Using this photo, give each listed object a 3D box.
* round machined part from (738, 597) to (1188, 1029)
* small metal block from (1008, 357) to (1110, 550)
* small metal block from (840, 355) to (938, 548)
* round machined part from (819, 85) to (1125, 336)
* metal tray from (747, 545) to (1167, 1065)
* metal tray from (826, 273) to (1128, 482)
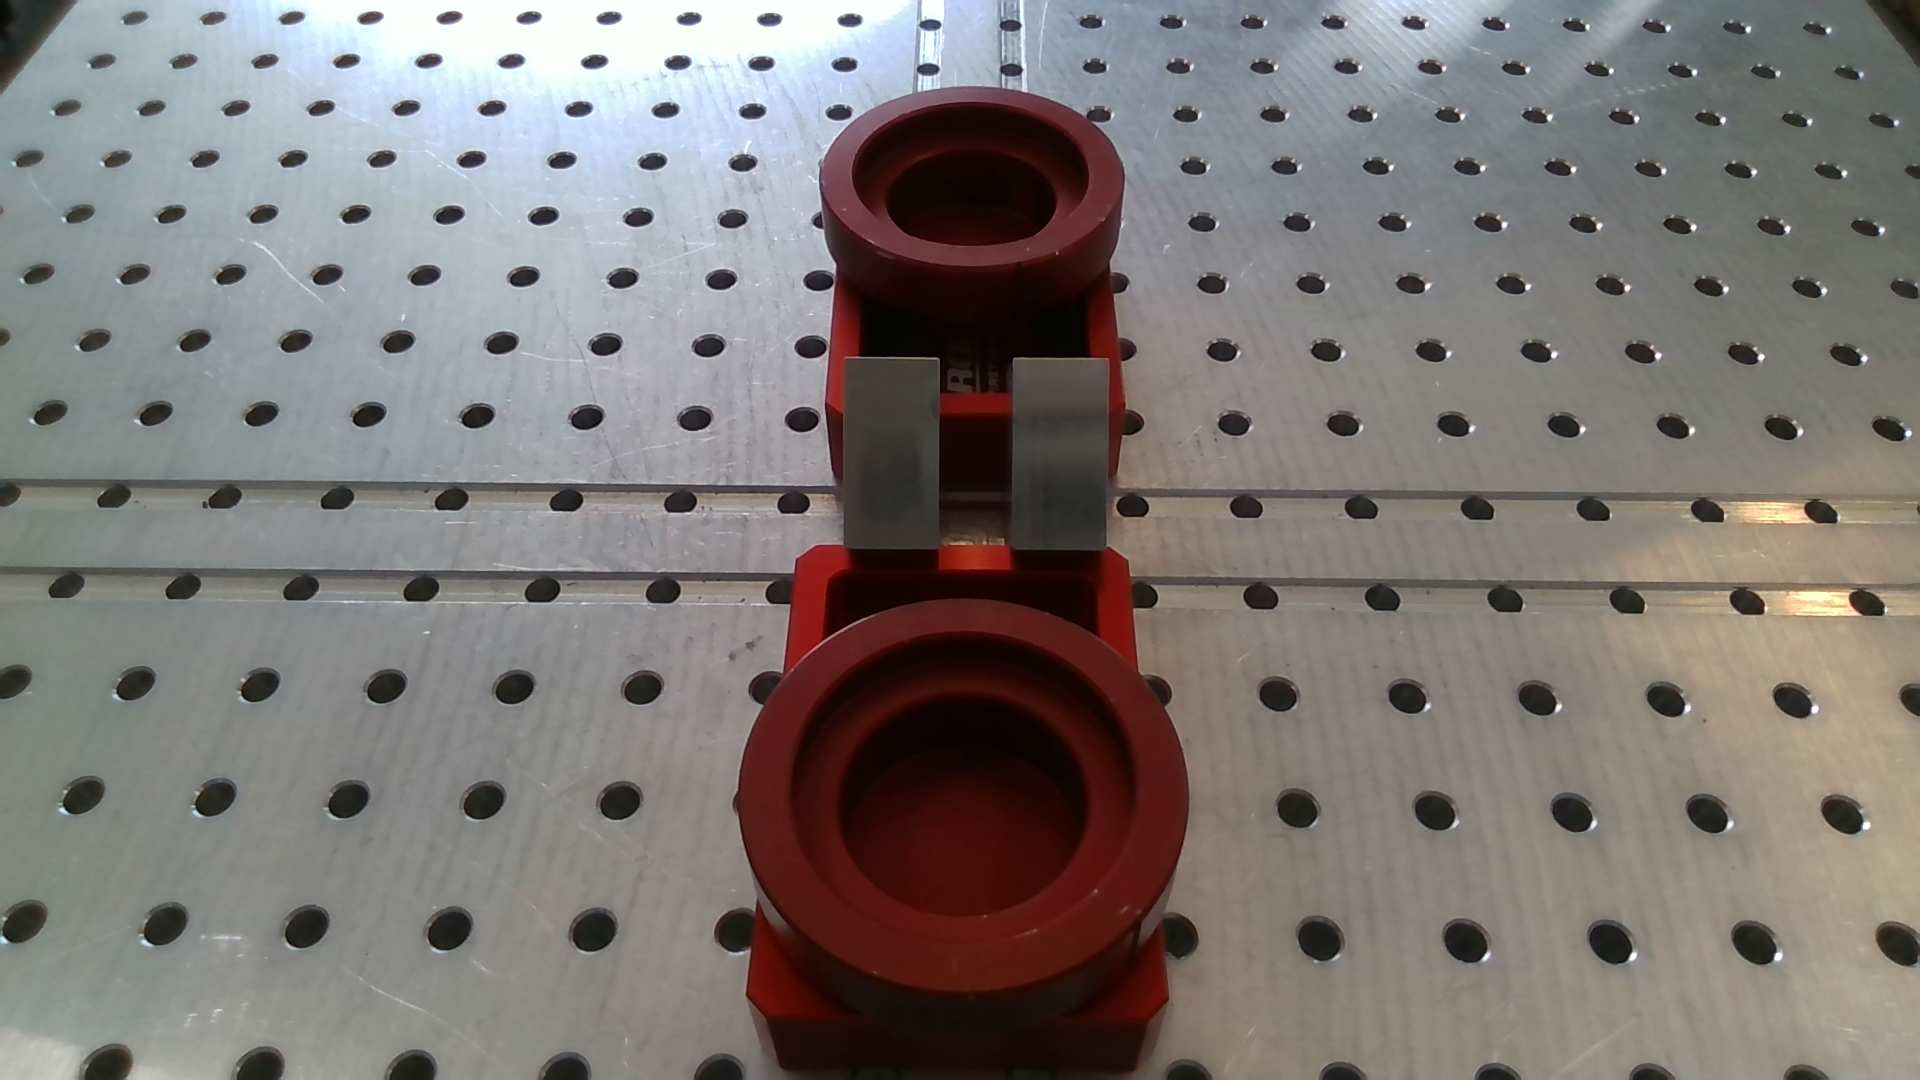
[{"bbox_3d":[0.001,0.064,0.316,0.098,0.042,0.098,0,50,0],"label":"round machined part"},{"bbox_3d":[0.026,-0.025,0.383,0.025,0.050,0.050,0,6,0],"label":"small metal block"},{"bbox_3d":[-0.018,-0.025,0.382,0.025,0.050,0.050,0,6,0],"label":"small metal block"},{"bbox_3d":[0.004,-0.106,0.458,0.098,0.042,0.098,0,50,0],"label":"round machined part"},{"bbox_3d":[0.000,0.060,0.344,0.090,0.030,0.130,0,50,1],"label":"metal tray"},{"bbox_3d":[0.005,-0.077,0.459,0.090,0.030,0.130,-2,50,1],"label":"metal tray"}]
